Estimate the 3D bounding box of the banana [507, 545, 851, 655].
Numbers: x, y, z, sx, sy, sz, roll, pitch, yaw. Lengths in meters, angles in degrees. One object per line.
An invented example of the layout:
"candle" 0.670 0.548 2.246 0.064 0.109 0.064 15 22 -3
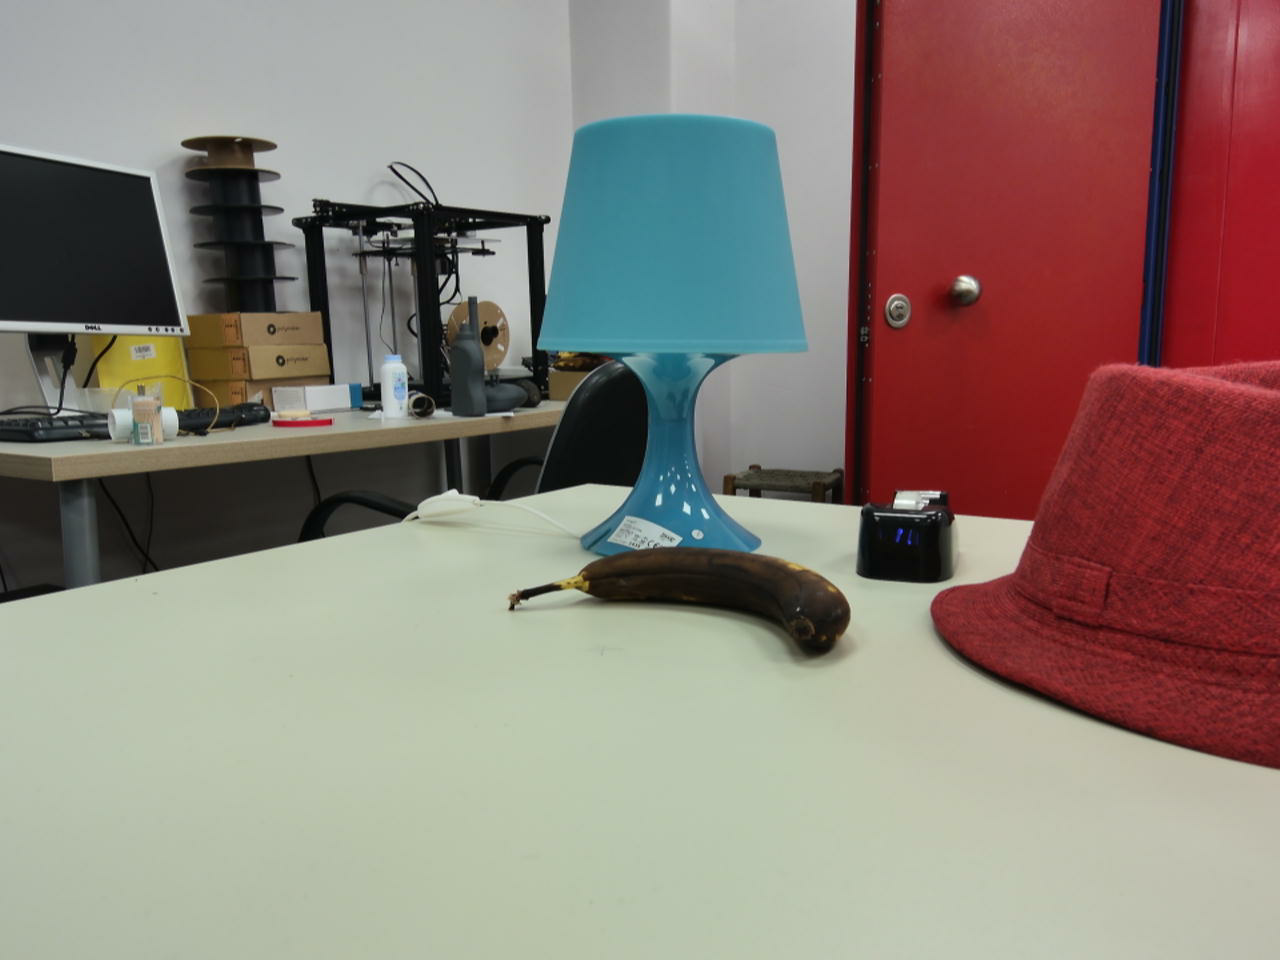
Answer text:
"banana" 0.030 0.056 0.533 0.188 0.033 0.091 5 7 37
